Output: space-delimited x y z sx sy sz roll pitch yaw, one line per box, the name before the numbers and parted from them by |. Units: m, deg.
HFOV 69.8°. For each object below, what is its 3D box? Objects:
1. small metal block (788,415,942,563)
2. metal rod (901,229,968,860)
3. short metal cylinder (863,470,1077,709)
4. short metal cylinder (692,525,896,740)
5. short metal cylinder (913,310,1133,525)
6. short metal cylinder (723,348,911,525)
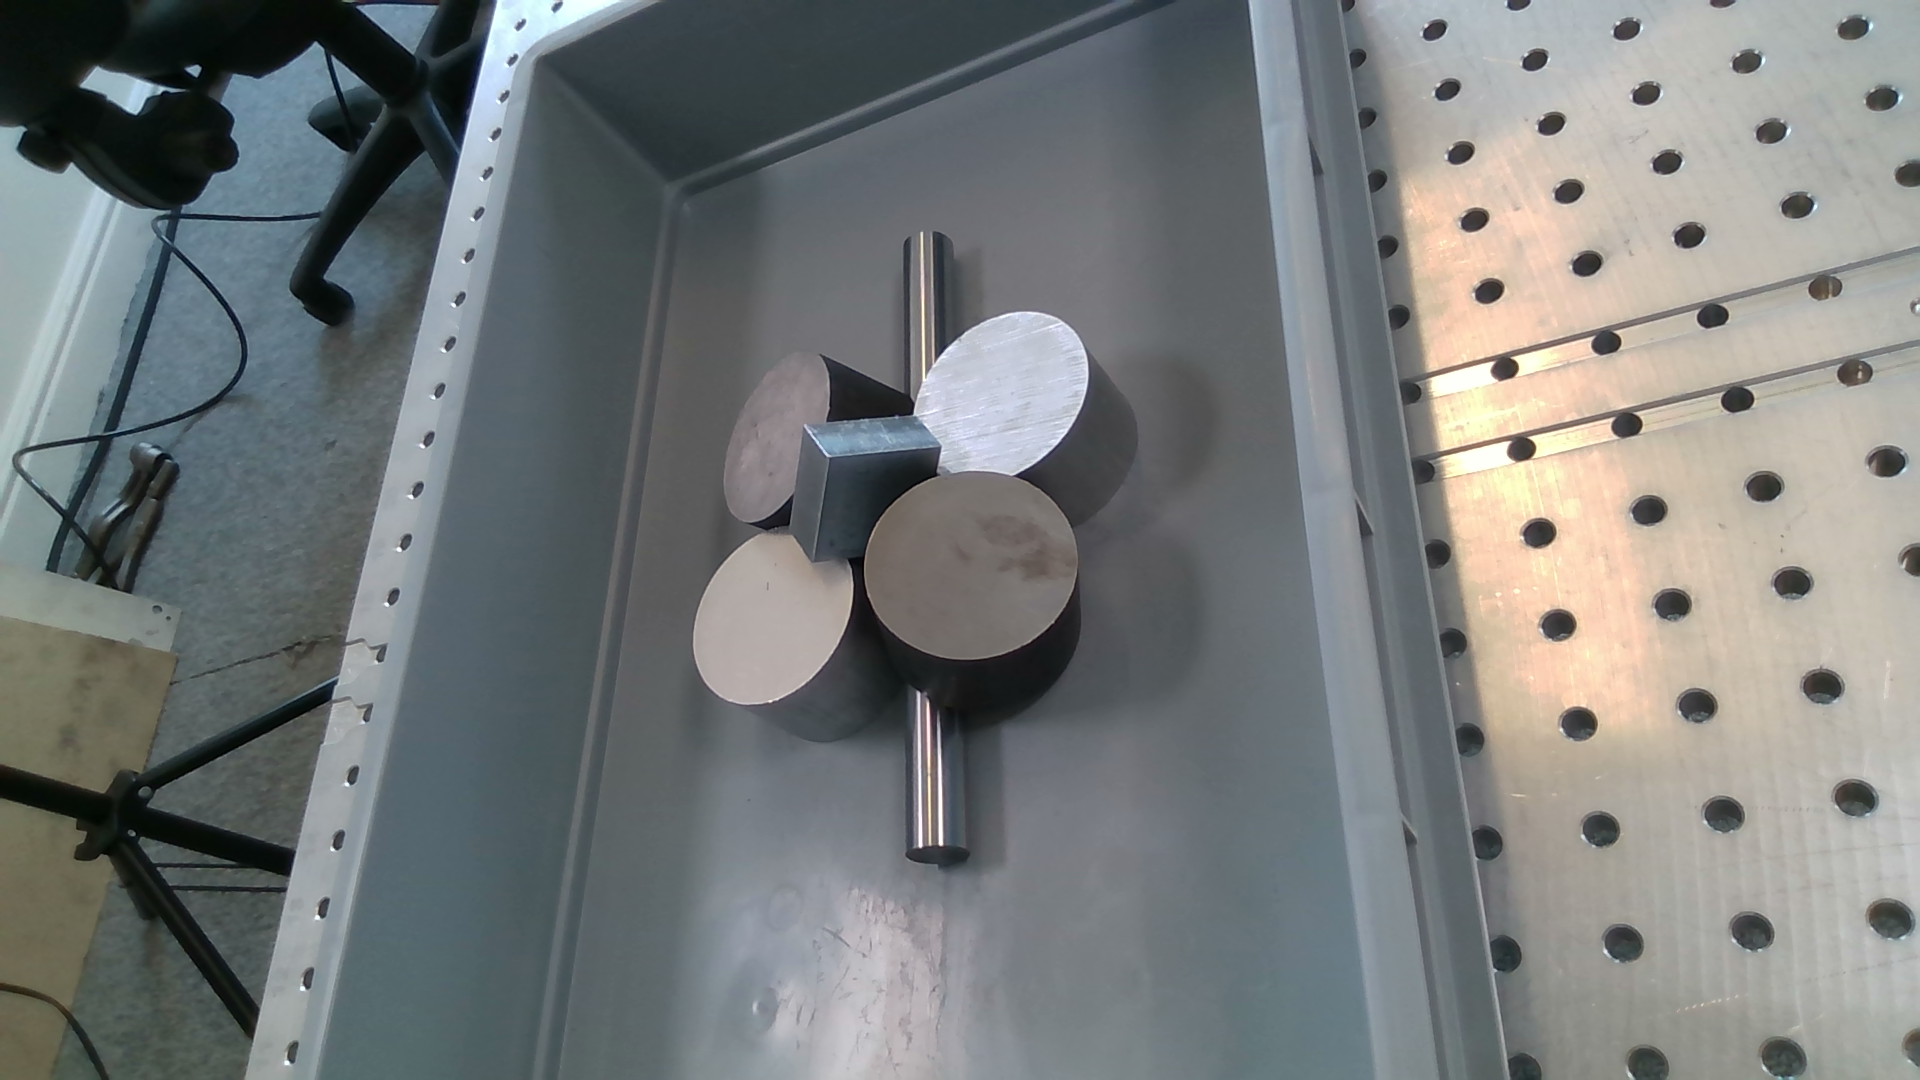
small metal block | -0.039 -0.021 0.557 0.025 0.050 0.050 51 138 44
metal rod | -0.013 -0.012 0.598 0.025 0.025 0.299 -16 58 24
short metal cylinder | 0.006 0.020 0.537 0.080 0.050 0.080 -2 61 5
short metal cylinder | -0.067 0.040 0.588 0.080 0.050 0.080 -14 59 25
short metal cylinder | 0.027 -0.049 0.577 0.080 0.050 0.080 -14 59 25
short metal cylinder | -0.062 -0.038 0.611 0.080 0.050 0.080 -27 53 42
